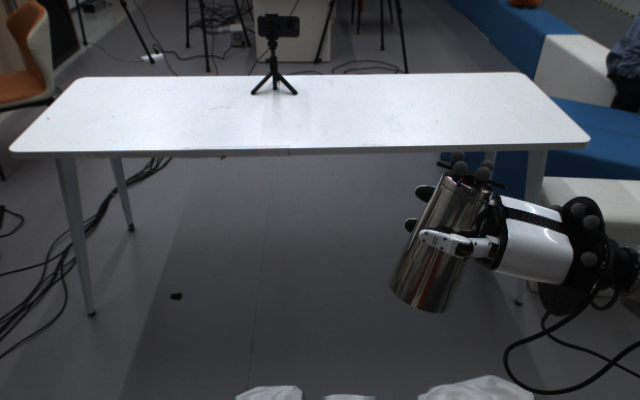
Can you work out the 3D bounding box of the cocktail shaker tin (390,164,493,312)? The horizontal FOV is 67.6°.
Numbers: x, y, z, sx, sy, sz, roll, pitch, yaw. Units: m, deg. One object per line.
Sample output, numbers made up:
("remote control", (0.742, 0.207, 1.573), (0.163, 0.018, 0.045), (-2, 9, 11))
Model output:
("cocktail shaker tin", (0.164, 0.051, 0.639), (0.093, 0.170, 0.093), (16, 21, -6))
